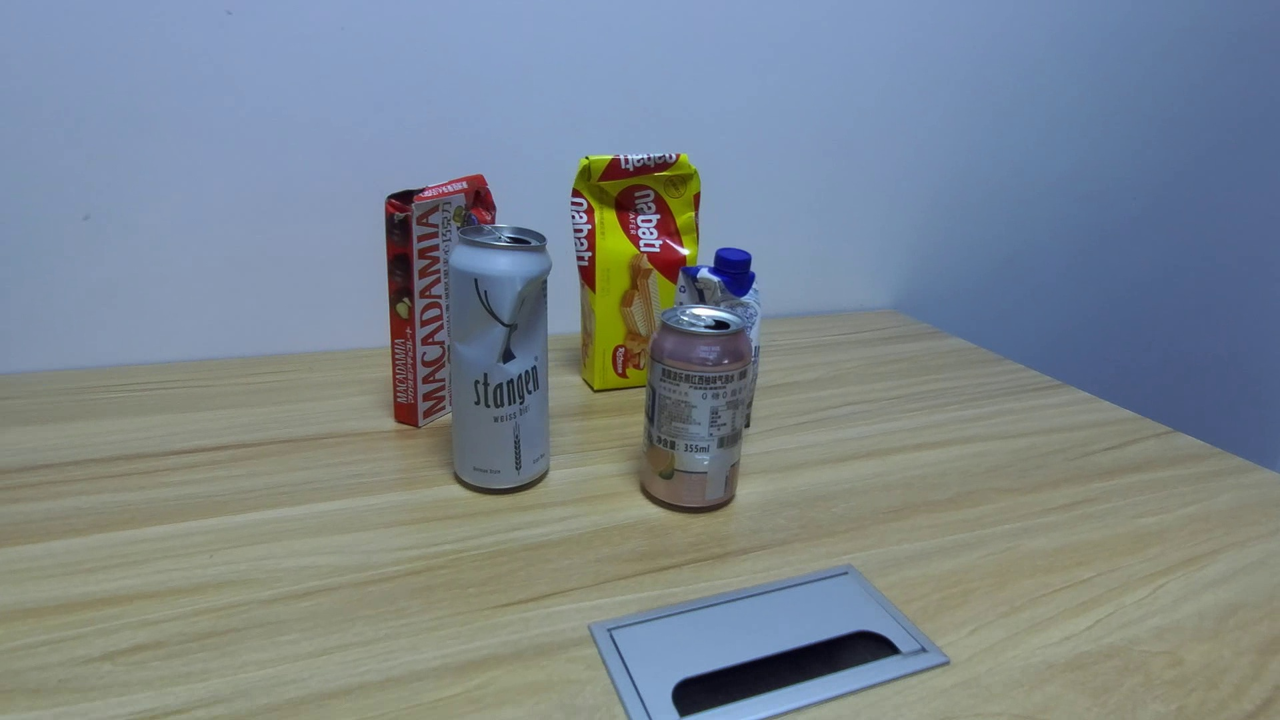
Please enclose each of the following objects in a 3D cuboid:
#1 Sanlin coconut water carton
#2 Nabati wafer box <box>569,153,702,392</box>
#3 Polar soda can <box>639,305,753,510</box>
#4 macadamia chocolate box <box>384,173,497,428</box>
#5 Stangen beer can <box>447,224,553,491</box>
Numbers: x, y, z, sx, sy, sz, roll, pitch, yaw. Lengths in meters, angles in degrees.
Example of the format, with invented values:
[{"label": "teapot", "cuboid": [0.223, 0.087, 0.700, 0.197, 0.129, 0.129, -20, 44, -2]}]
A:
[{"label": "Sanlin coconut water carton", "cuboid": [0.060, -0.017, 0.571, 0.057, 0.144, 0.068, -1, 10, -35]}, {"label": "Nabati wafer box", "cuboid": [-0.003, -0.075, 0.627, 0.113, 0.205, 0.042, -6, 23, -18]}, {"label": "Polar soda can", "cuboid": [0.037, 0.032, 0.461, 0.067, 0.125, 0.067, 2, 19, 0]}, {"label": "macadamia chocolate box", "cuboid": [-0.151, -0.047, 0.560, 0.027, 0.187, 0.103, 17, 24, 24]}, {"label": "Stangen beer can", "cuboid": [-0.089, 0.000, 0.464, 0.070, 0.173, 0.069, -7, 23, -27]}]
